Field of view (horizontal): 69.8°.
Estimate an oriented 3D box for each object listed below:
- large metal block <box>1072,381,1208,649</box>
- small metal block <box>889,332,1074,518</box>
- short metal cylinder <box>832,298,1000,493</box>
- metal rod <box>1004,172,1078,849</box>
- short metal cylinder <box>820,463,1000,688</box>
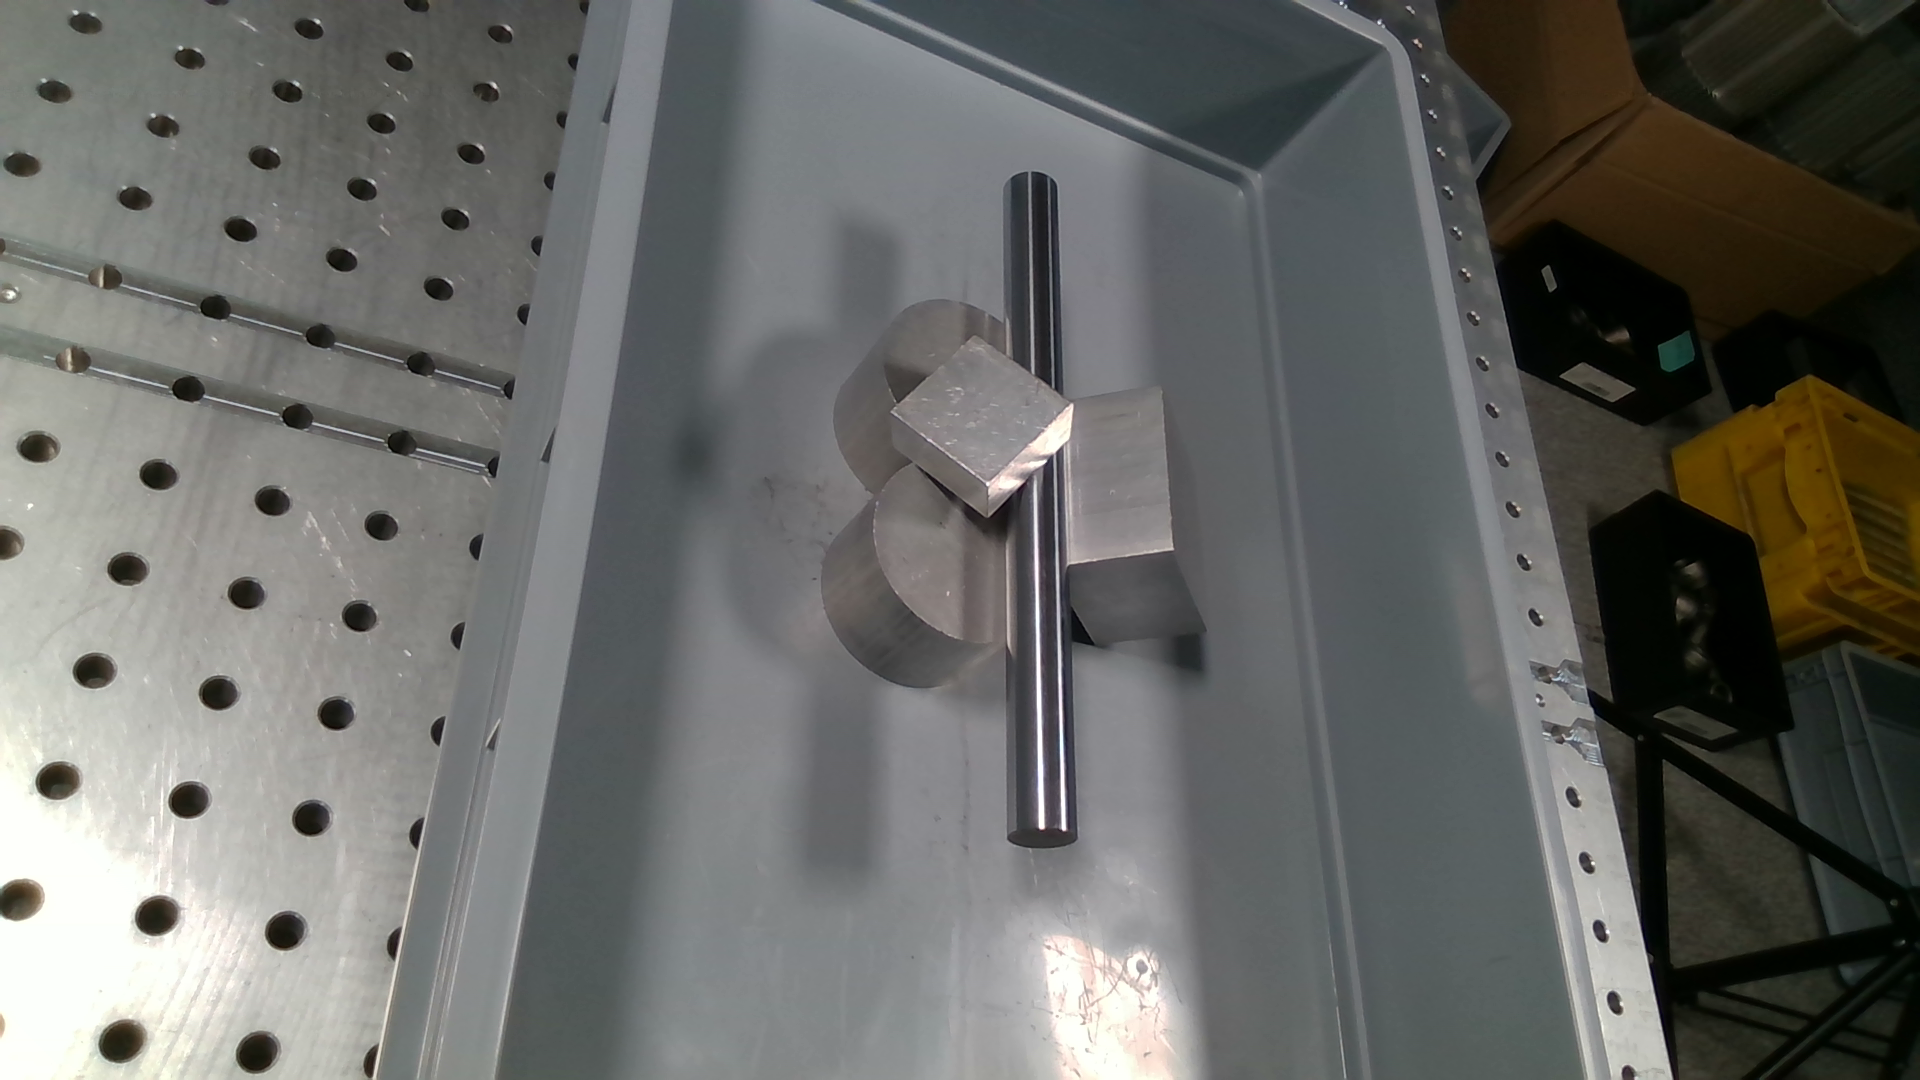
[{"bbox_3d":[0.072,-0.009,0.591,0.080,0.050,0.080,56,30,-56],"label":"large metal block"},{"bbox_3d":[0.008,-0.045,0.535,0.050,0.025,0.050,38,68,18],"label":"small metal block"},{"bbox_3d":[-0.009,-0.056,0.594,0.080,0.050,0.080,14,59,-25],"label":"short metal cylinder"},{"bbox_3d":[0.030,-0.027,0.553,0.025,0.025,0.299,15,58,-24],"label":"metal rod"},{"bbox_3d":[-0.010,0.014,0.556,0.080,0.050,0.080,14,59,-25],"label":"short metal cylinder"}]
